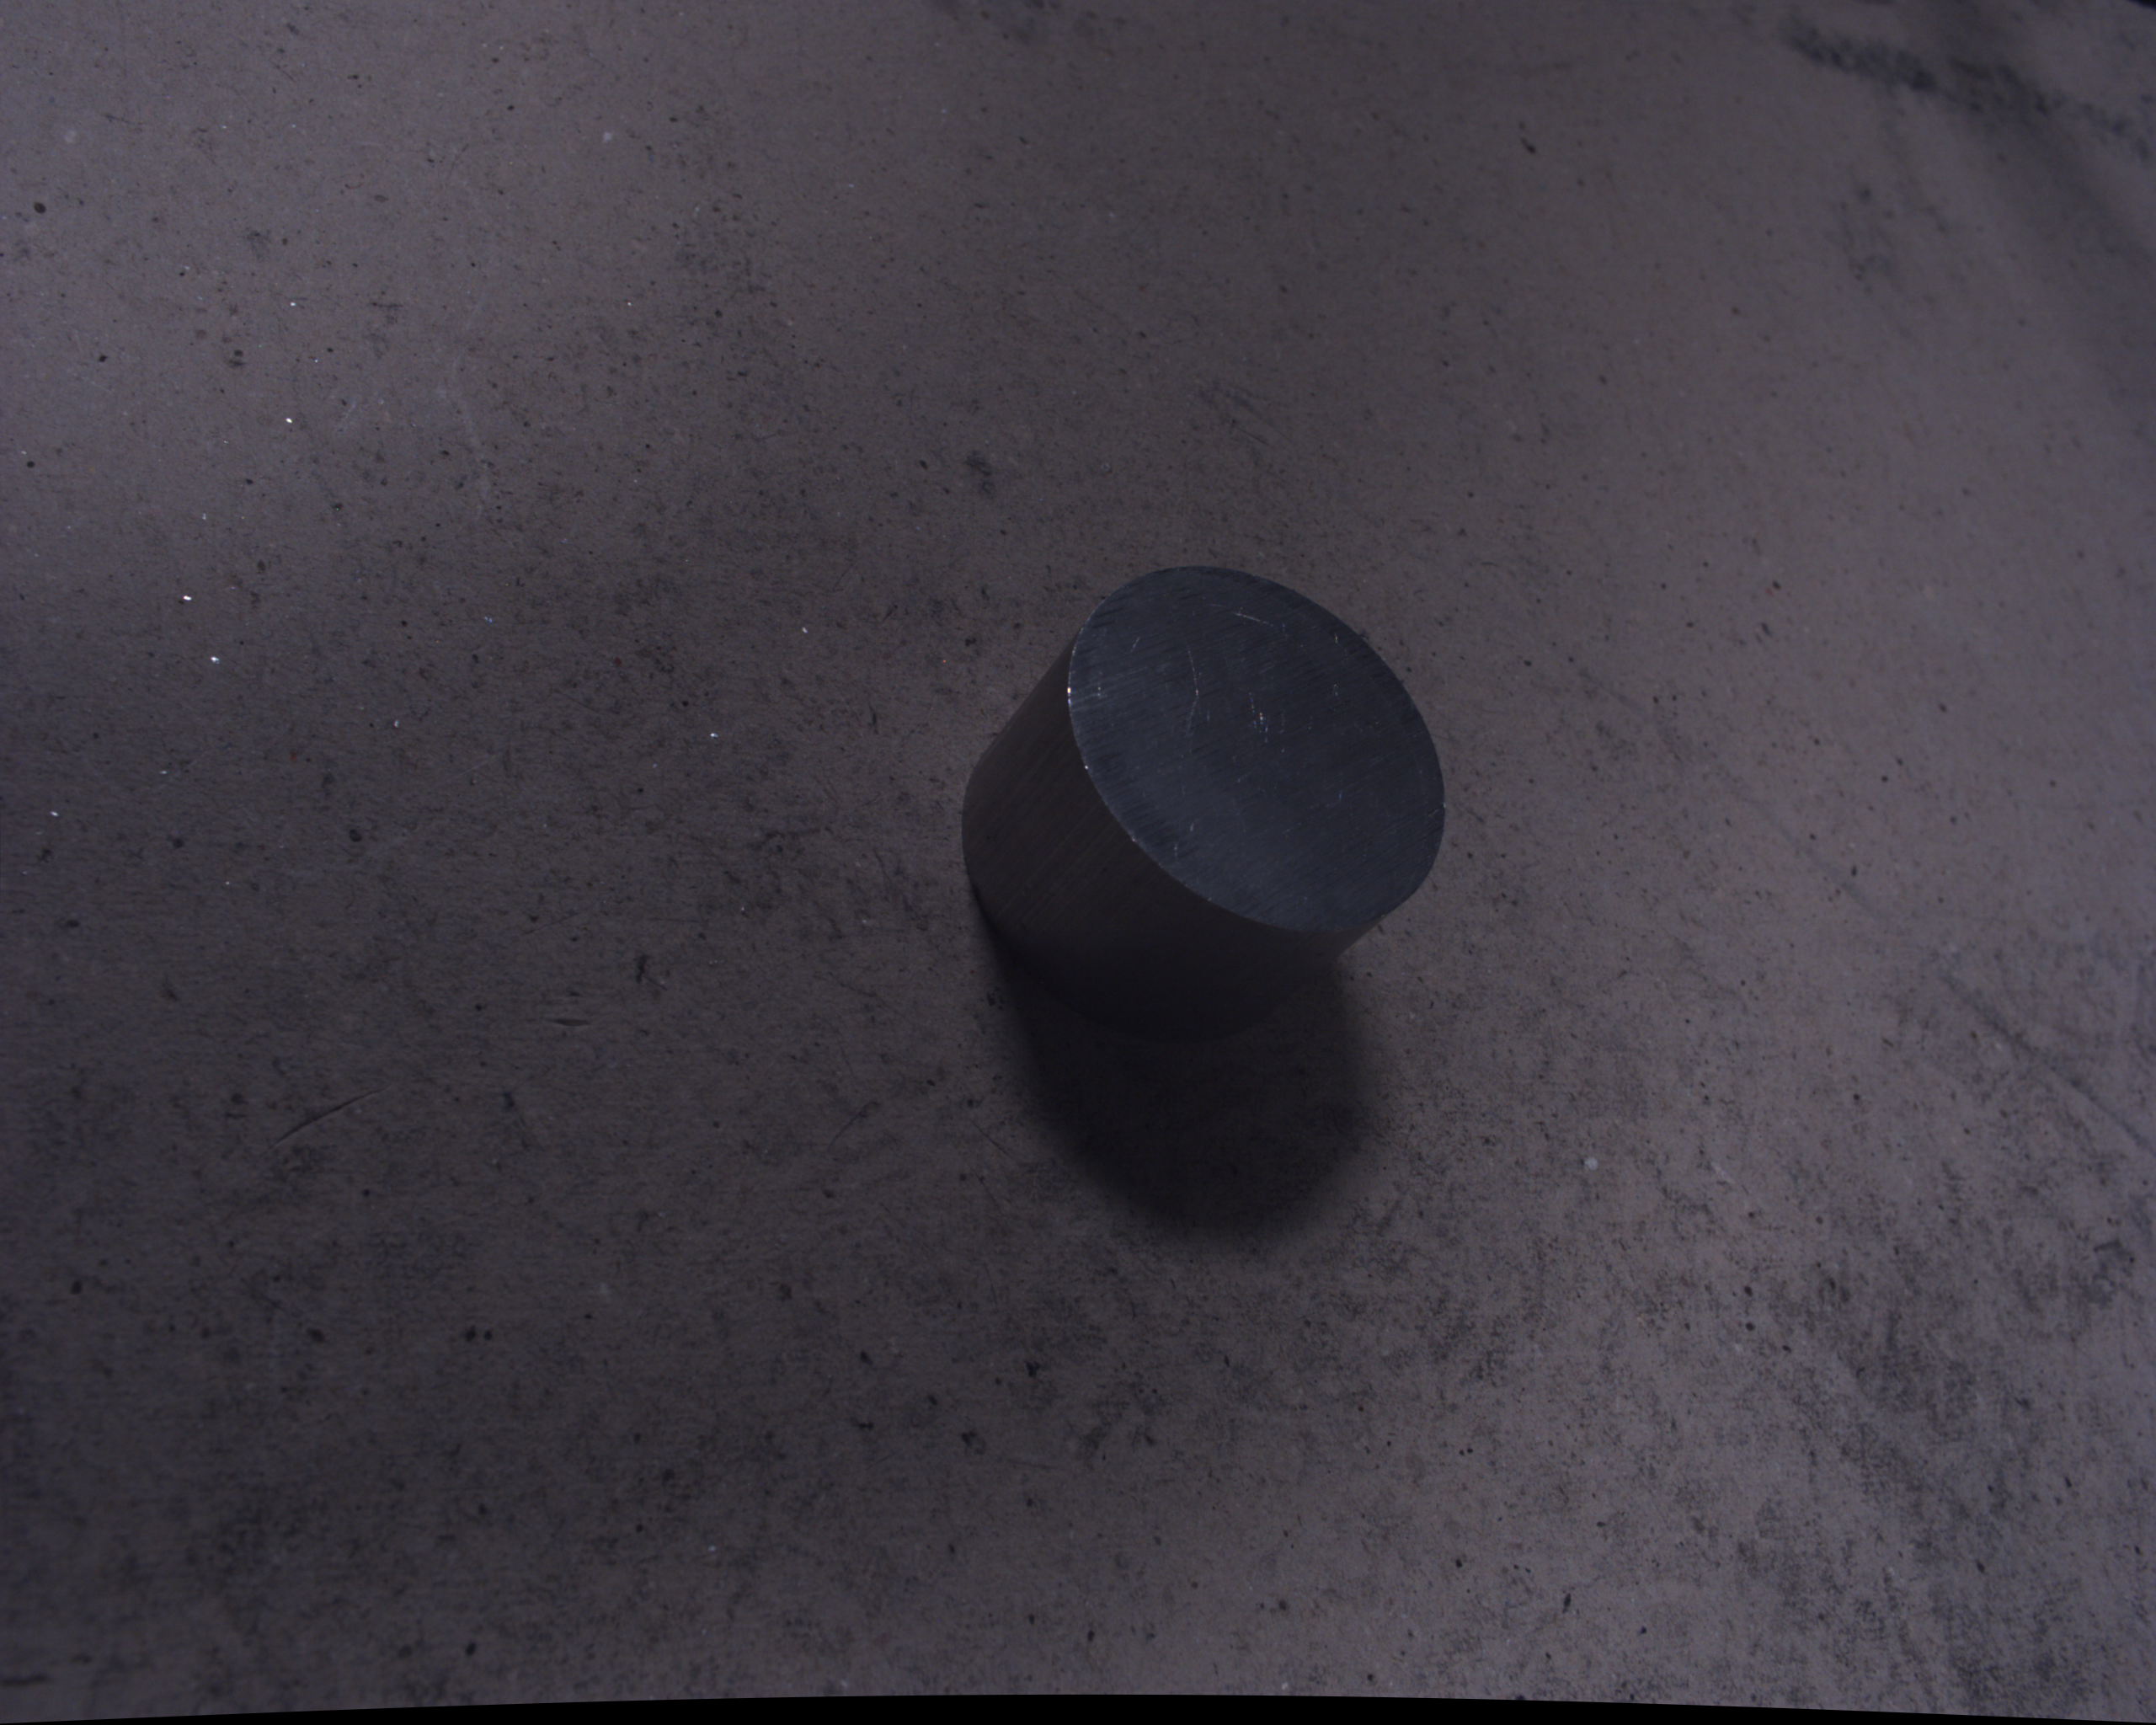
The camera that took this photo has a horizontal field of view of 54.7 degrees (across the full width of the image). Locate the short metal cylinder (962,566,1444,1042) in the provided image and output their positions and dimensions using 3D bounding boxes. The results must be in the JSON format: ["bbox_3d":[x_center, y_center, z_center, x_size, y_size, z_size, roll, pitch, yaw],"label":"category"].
[{"bbox_3d":[0.024,-0.011,0.411,0.081,0.050,0.080,14,56,-21],"label":"short metal cylinder"}]
